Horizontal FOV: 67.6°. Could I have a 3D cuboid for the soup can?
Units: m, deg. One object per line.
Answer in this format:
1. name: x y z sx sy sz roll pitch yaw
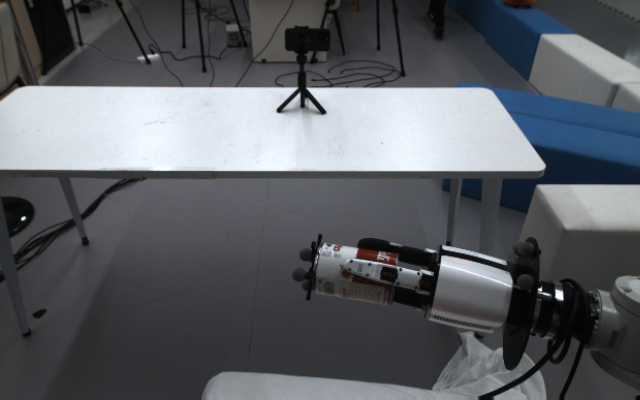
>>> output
1. soup can: 0.050 0.094 0.622 0.101 0.067 0.067 7 35 10
